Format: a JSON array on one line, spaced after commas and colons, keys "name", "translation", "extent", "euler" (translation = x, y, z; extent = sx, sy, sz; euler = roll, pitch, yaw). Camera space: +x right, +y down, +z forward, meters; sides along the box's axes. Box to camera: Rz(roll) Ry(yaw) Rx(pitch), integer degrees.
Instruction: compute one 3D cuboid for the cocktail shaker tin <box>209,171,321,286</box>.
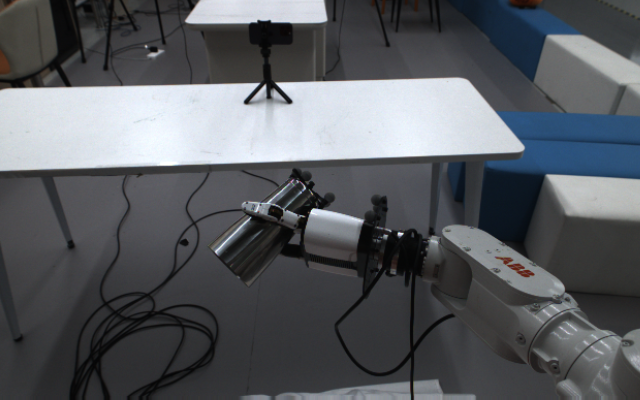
[{"name": "cocktail shaker tin", "translation": [-0.085, 0.043, 0.765], "extent": [0.170, 0.093, 0.093], "euler": [-44, 50, -14]}]
